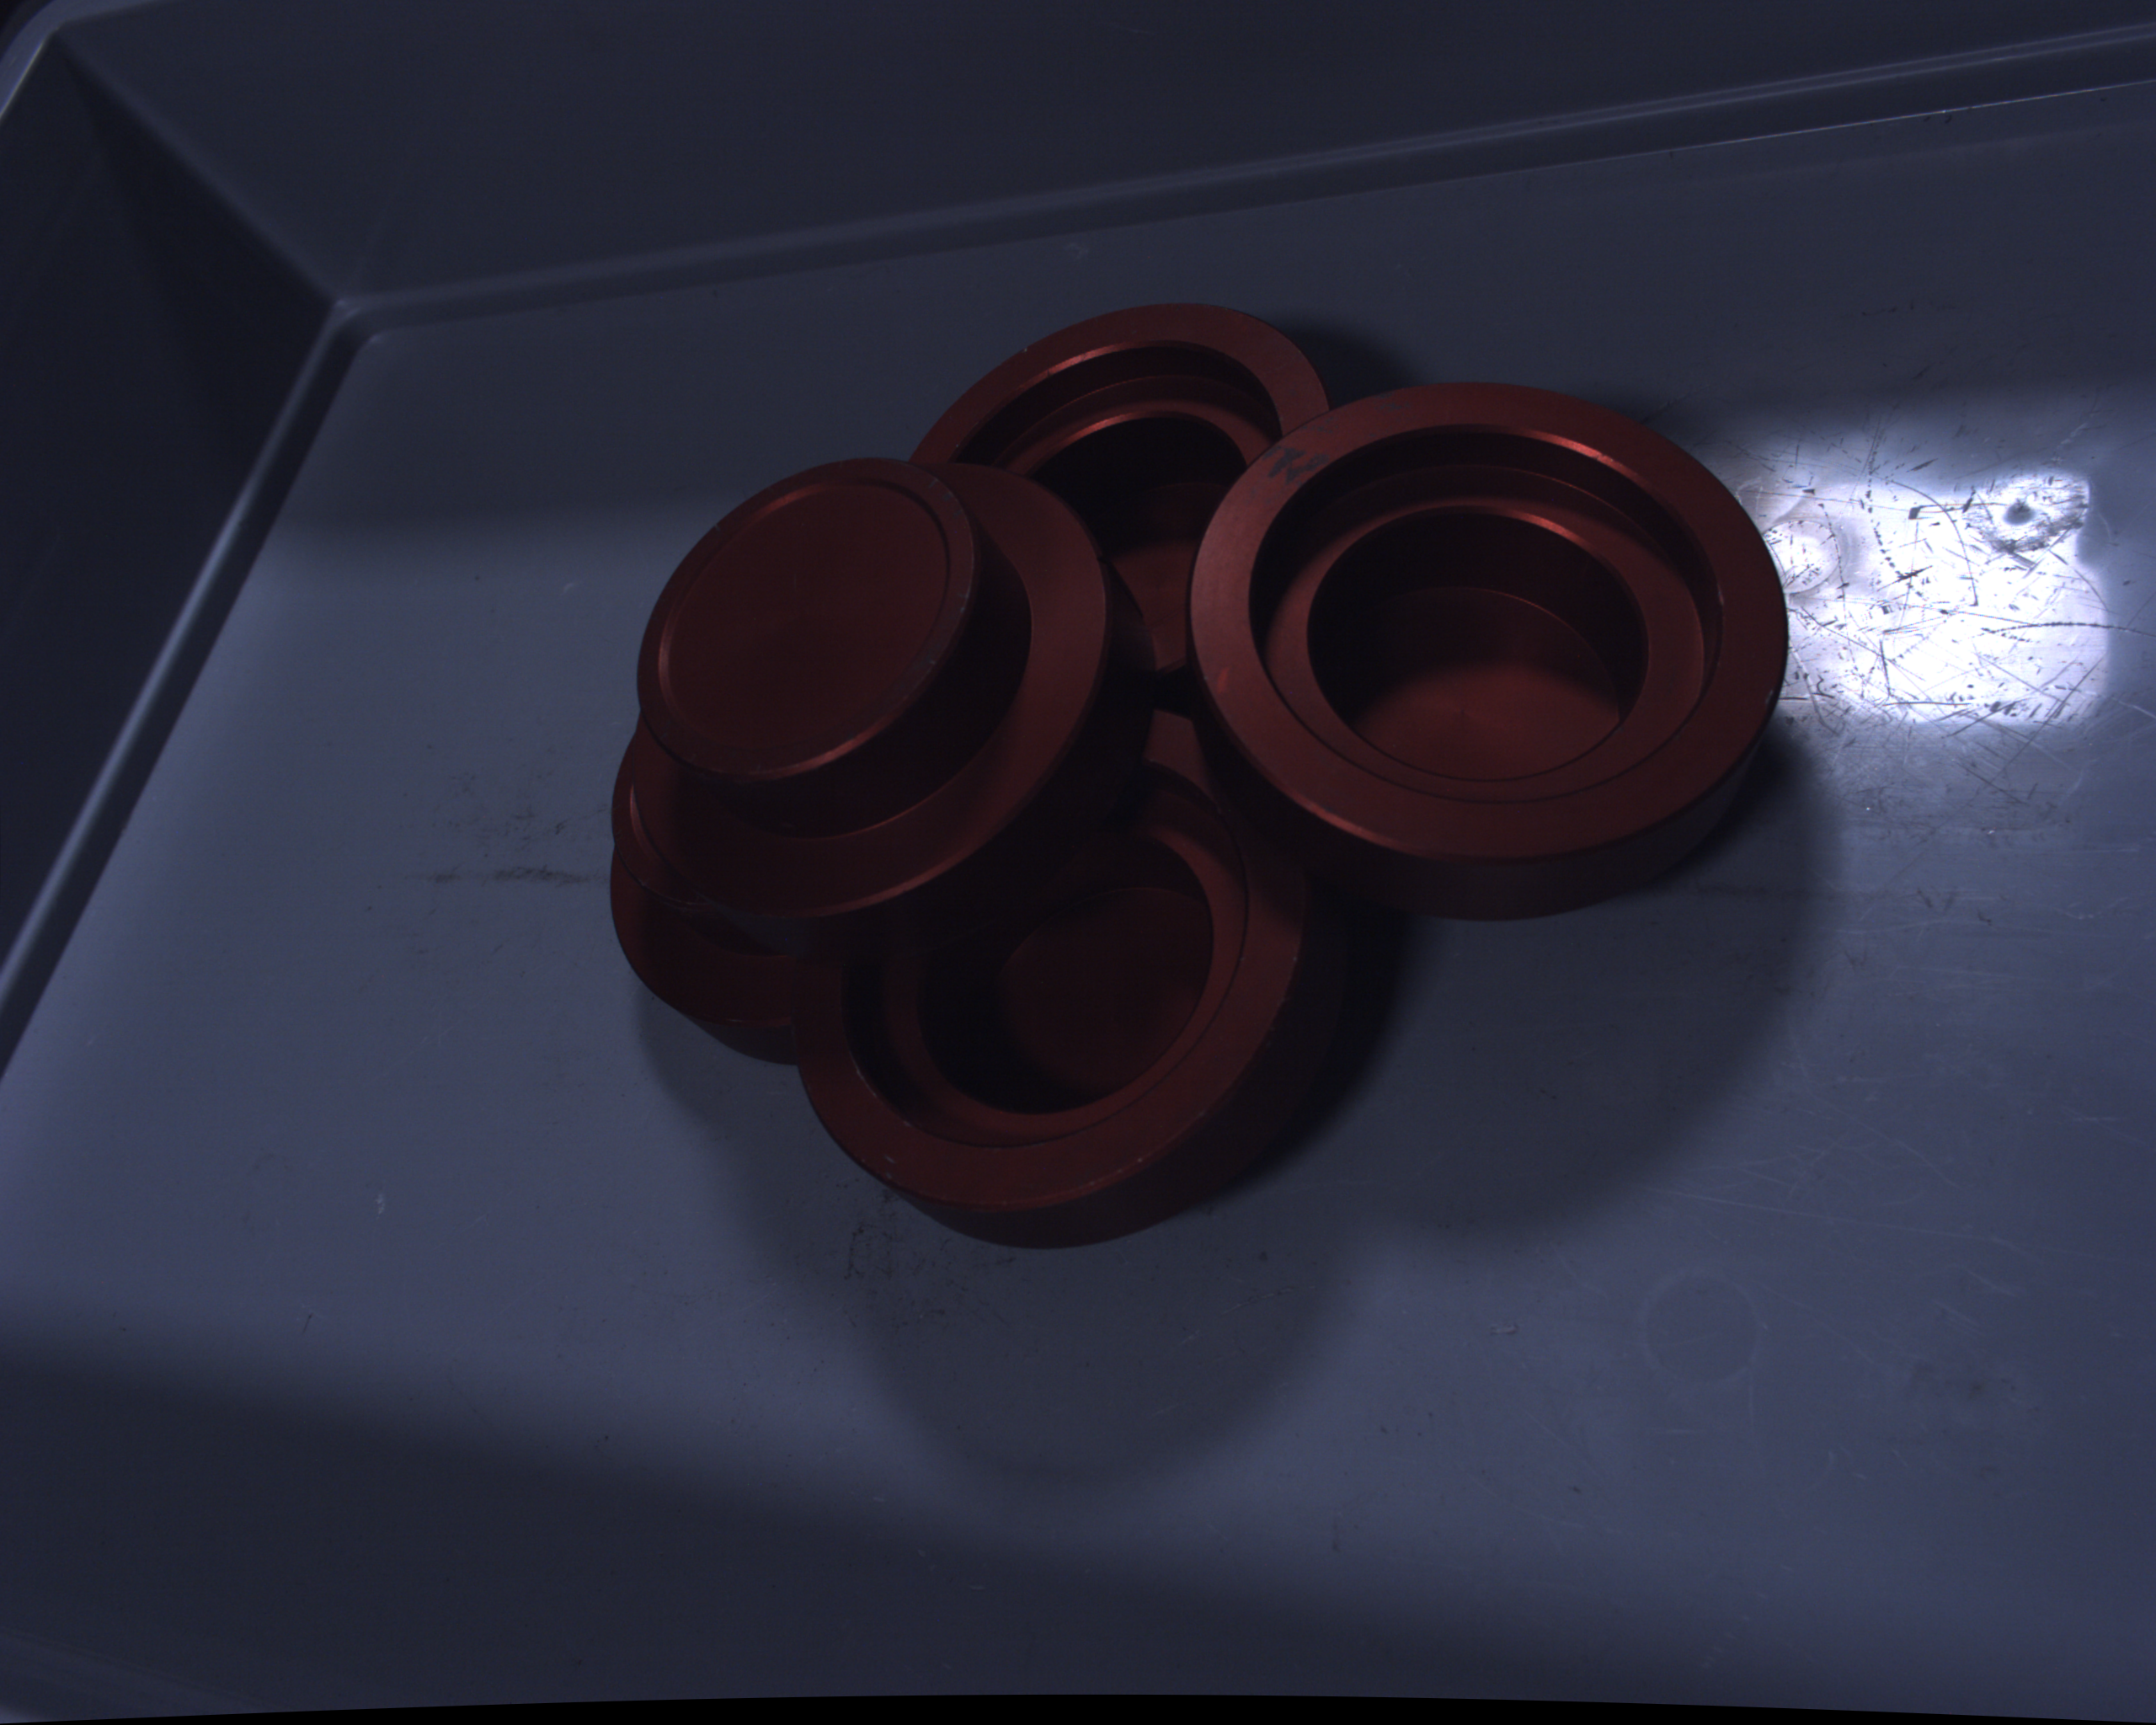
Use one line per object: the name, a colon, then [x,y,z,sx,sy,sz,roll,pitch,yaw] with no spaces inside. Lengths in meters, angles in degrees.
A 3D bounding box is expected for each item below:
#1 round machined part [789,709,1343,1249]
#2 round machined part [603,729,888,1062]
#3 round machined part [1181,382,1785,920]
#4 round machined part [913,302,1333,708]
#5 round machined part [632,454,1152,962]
round machined part: [0.001,0.023,0.376,0.098,0.042,0.098,-13,56,20]
round machined part: [-0.056,-0.012,0.426,0.098,0.042,0.098,-13,56,20]
round machined part: [0.068,-0.033,0.363,0.099,0.042,0.098,-2,61,3]
round machined part: [0.012,-0.063,0.424,0.098,0.042,0.098,-13,56,20]
round machined part: [-0.040,-0.034,0.377,0.098,0.042,0.098,-13,56,20]
